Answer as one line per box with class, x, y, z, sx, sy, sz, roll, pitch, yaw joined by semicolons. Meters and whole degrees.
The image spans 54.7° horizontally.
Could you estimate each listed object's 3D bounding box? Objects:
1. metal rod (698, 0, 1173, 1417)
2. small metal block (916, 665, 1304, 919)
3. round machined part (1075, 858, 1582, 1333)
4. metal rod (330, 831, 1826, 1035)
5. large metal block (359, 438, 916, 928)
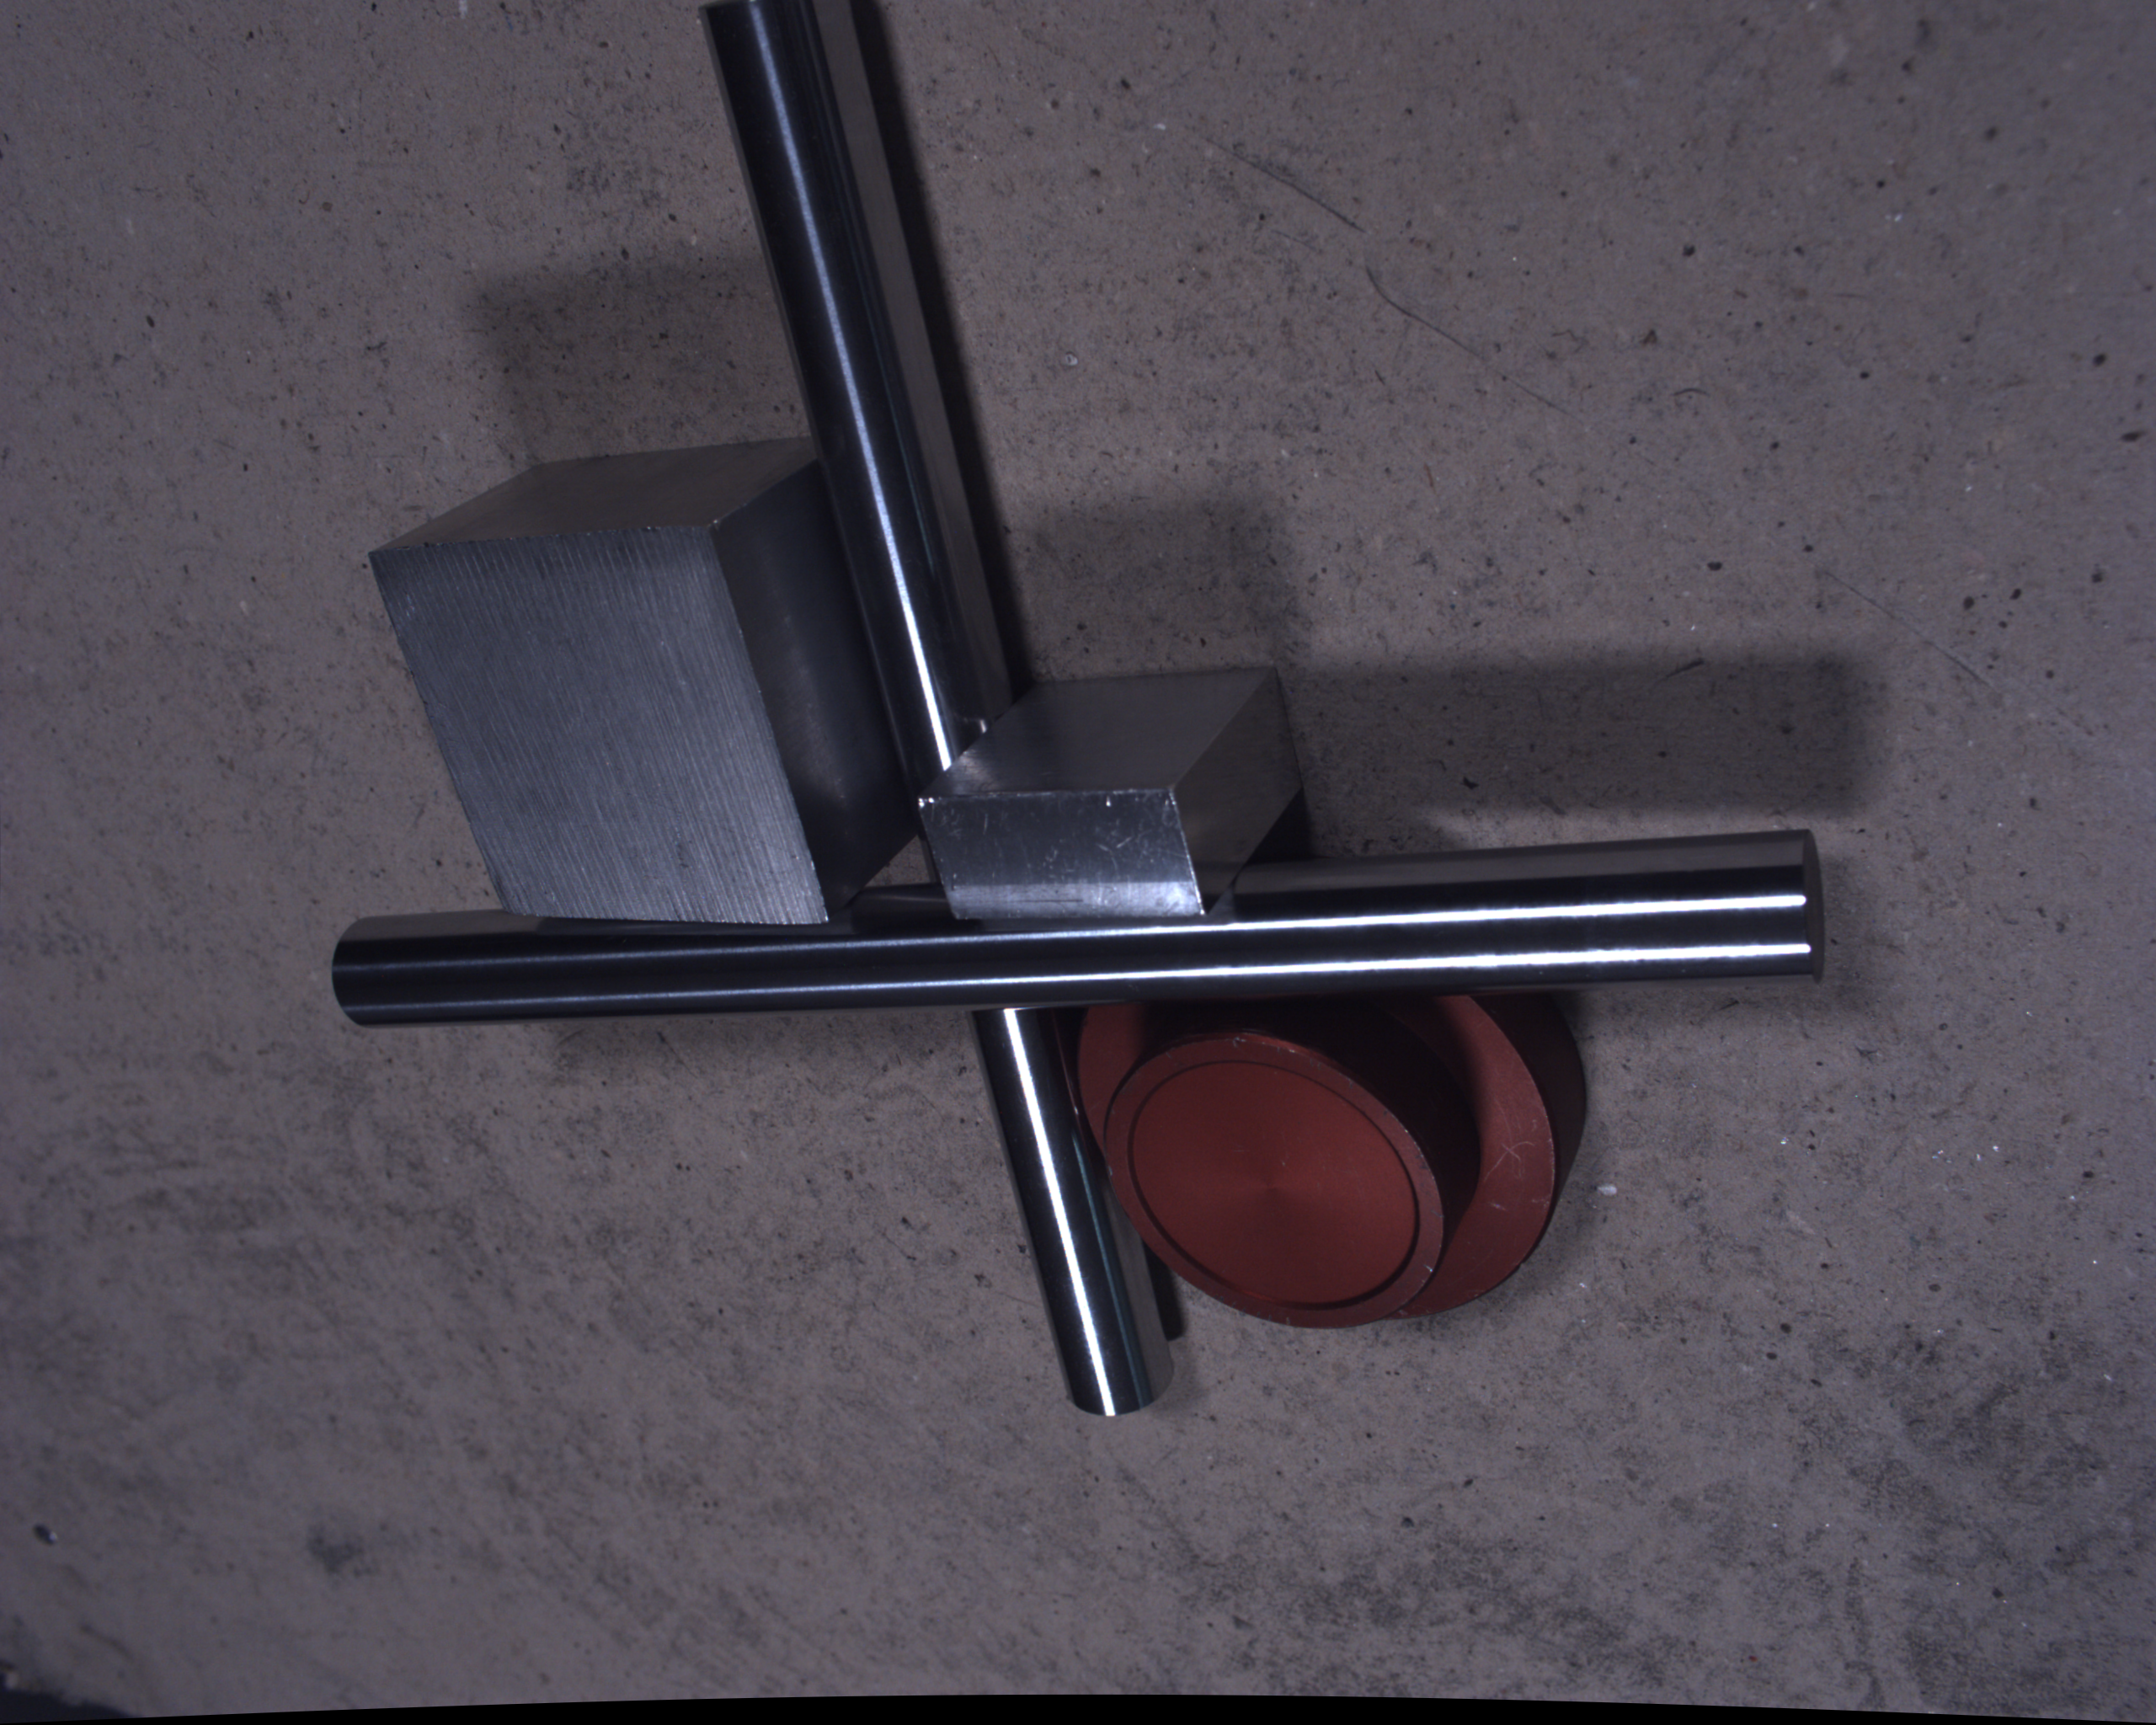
metal rod;-0.021;-0.013;0.409;0.025;0.025;0.298;1;119;27
small metal block;0.007;-0.013;0.379;0.050;0.050;0.025;-1;118;28
round machined part;0.044;0.051;0.404;0.098;0.042;0.097;13;124;20
metal rod;-0.019;0.016;0.395;0.301;0.025;0.025;-4;117;25
large metal block;-0.080;-0.035;0.410;0.080;0.050;0.079;1;119;27
